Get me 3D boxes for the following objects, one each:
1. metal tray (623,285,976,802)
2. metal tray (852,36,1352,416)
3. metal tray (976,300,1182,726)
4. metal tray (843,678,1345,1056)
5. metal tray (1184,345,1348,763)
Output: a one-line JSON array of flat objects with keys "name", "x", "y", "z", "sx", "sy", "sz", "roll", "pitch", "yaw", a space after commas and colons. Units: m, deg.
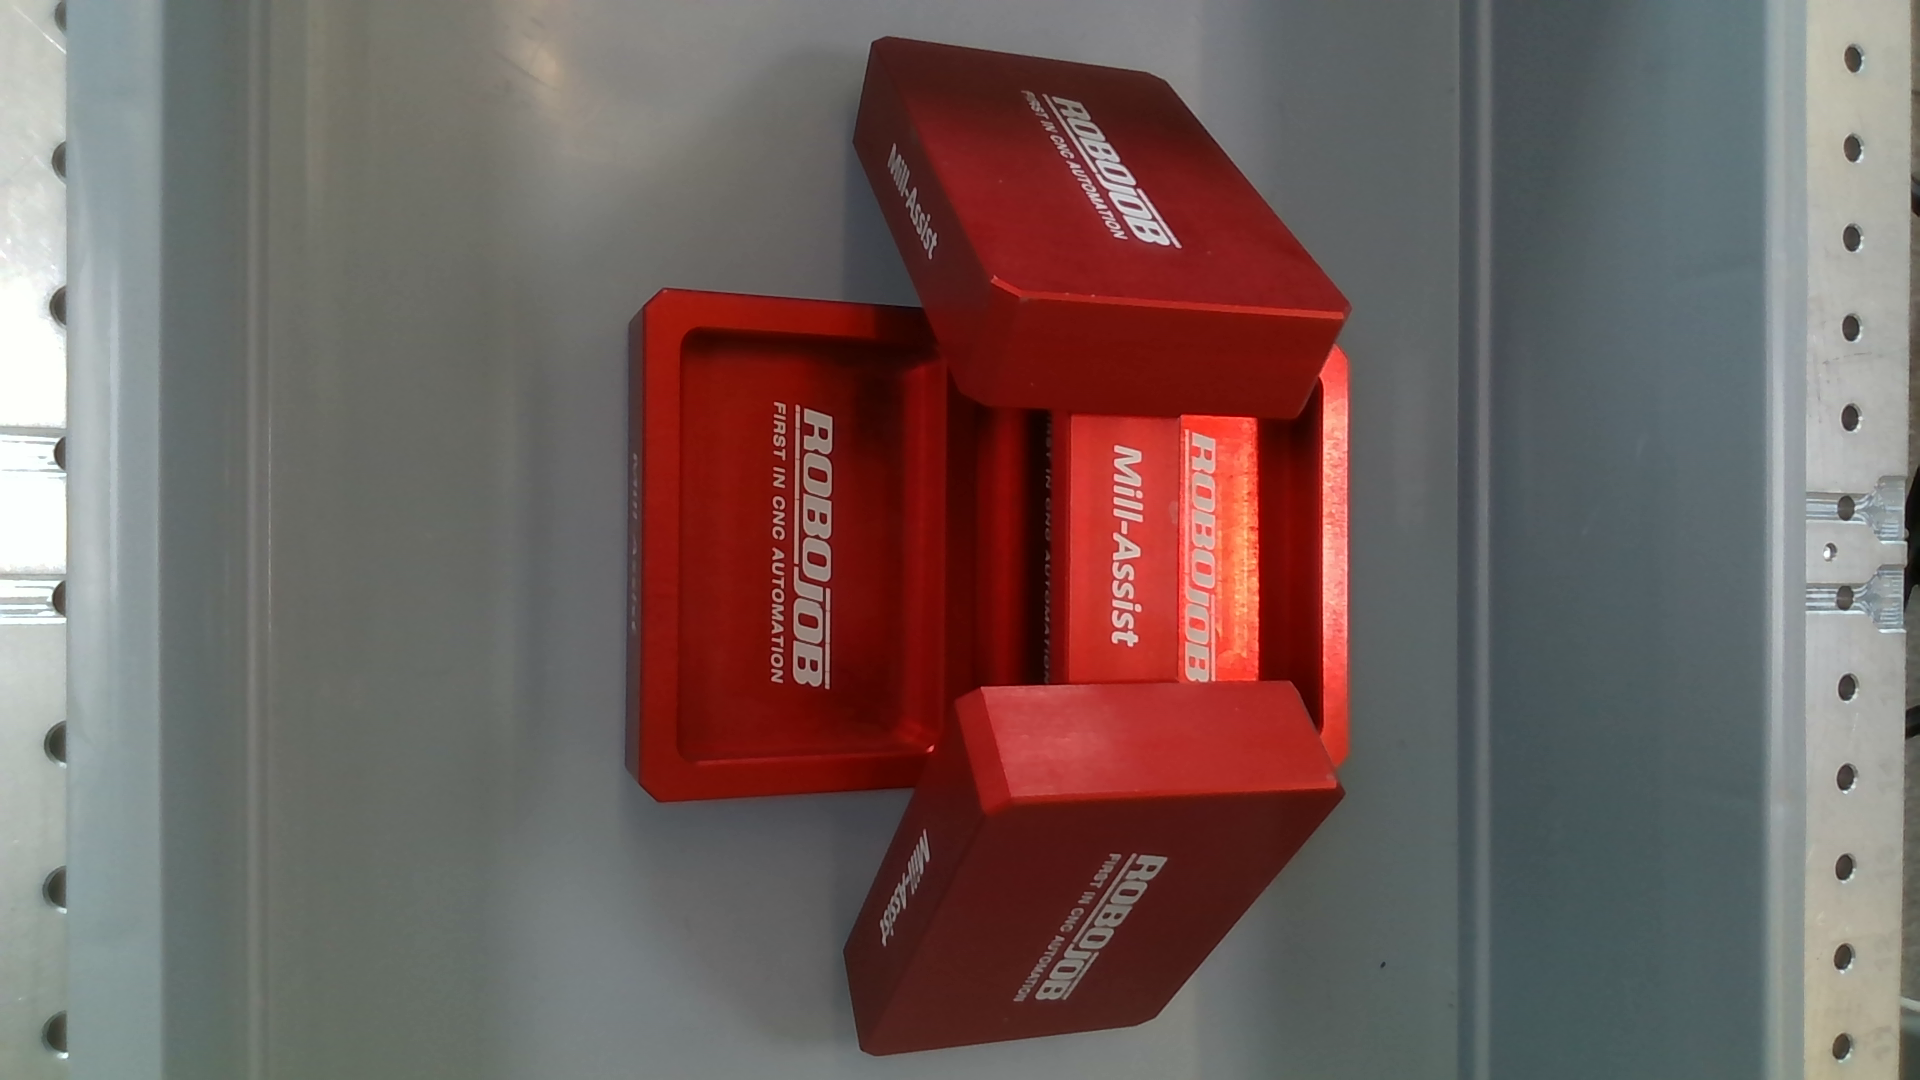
[{"name": "metal tray", "x": -0.043, "y": 0.001, "z": 0.373, "sx": 0.090, "sy": 0.030, "sz": 0.130, "roll": 0, "pitch": 91, "yaw": -20}, {"name": "metal tray", "x": 0.030, "y": -0.084, "z": 0.355, "sx": 0.090, "sy": 0.130, "sz": 0.030, "roll": 0, "pitch": 132, "yaw": -20}, {"name": "metal tray", "x": 0.024, "y": 0.000, "z": 0.367, "sx": 0.030, "sy": 0.090, "sz": 0.130, "roll": 0, "pitch": 91, "yaw": -20}, {"name": "metal tray", "x": 0.028, "y": 0.087, "z": 0.355, "sx": 0.090, "sy": 0.130, "sz": 0.030, "roll": 1, "pitch": 47, "yaw": -20}, {"name": "metal tray", "x": 0.070, "y": 0.004, "z": 0.416, "sx": 0.090, "sy": 0.030, "sz": 0.130, "roll": 0, "pitch": 91, "yaw": -20}]
